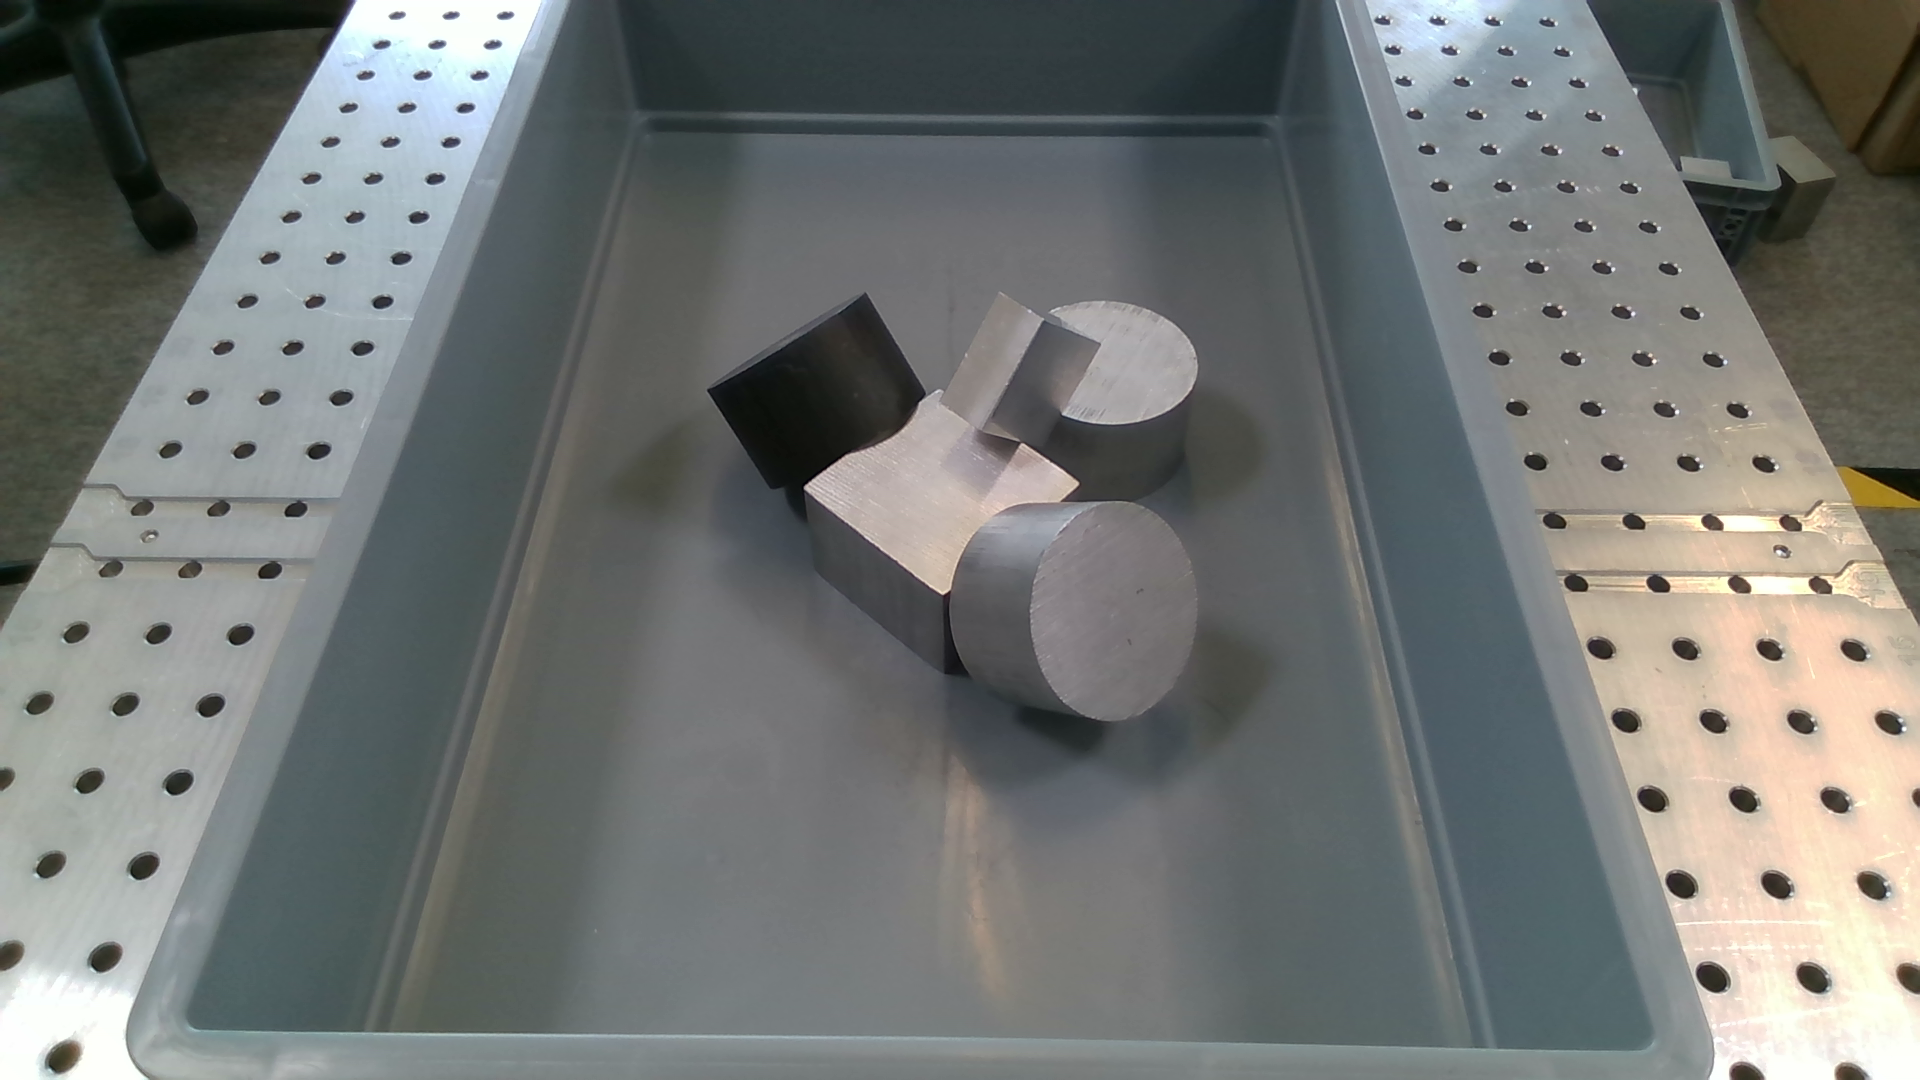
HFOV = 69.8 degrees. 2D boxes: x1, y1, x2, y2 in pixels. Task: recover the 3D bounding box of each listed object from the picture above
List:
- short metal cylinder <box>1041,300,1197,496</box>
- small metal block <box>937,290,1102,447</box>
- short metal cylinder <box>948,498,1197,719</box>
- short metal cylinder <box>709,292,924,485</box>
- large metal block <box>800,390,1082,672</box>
[{"bbox_3d":[0.064,-0.063,0.622,0.080,0.050,0.080,0,50,0],"label":"short metal cylinder"},{"bbox_3d":[0.025,-0.069,0.562,0.025,0.050,0.050,37,16,29],"label":"small metal block"},{"bbox_3d":[0.043,0.025,0.520,0.080,0.080,0.050,-39,22,-28],"label":"short metal cylinder"},{"bbox_3d":[-0.062,-0.066,0.597,0.080,0.050,0.080,-30,13,8],"label":"short metal cylinder"},{"bbox_3d":[-0.008,-0.006,0.572,0.080,0.050,0.080,37,59,27],"label":"large metal block"}]
